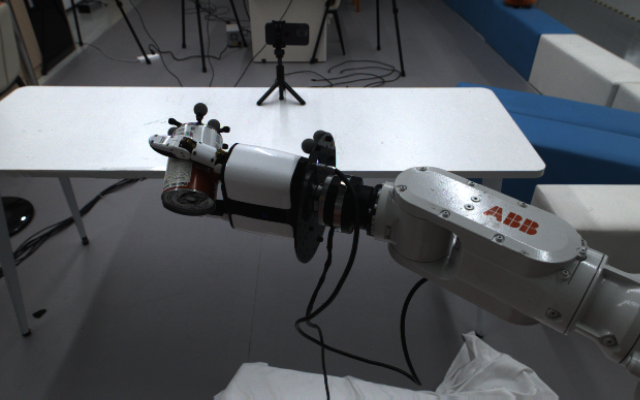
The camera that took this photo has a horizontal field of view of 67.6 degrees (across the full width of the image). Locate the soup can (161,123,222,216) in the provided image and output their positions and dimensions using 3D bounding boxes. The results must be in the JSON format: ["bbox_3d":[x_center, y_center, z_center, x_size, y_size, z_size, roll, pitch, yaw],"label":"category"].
[{"bbox_3d":[-0.161,-0.039,0.620,0.067,0.067,0.101,1,61,-2],"label":"soup can"}]
